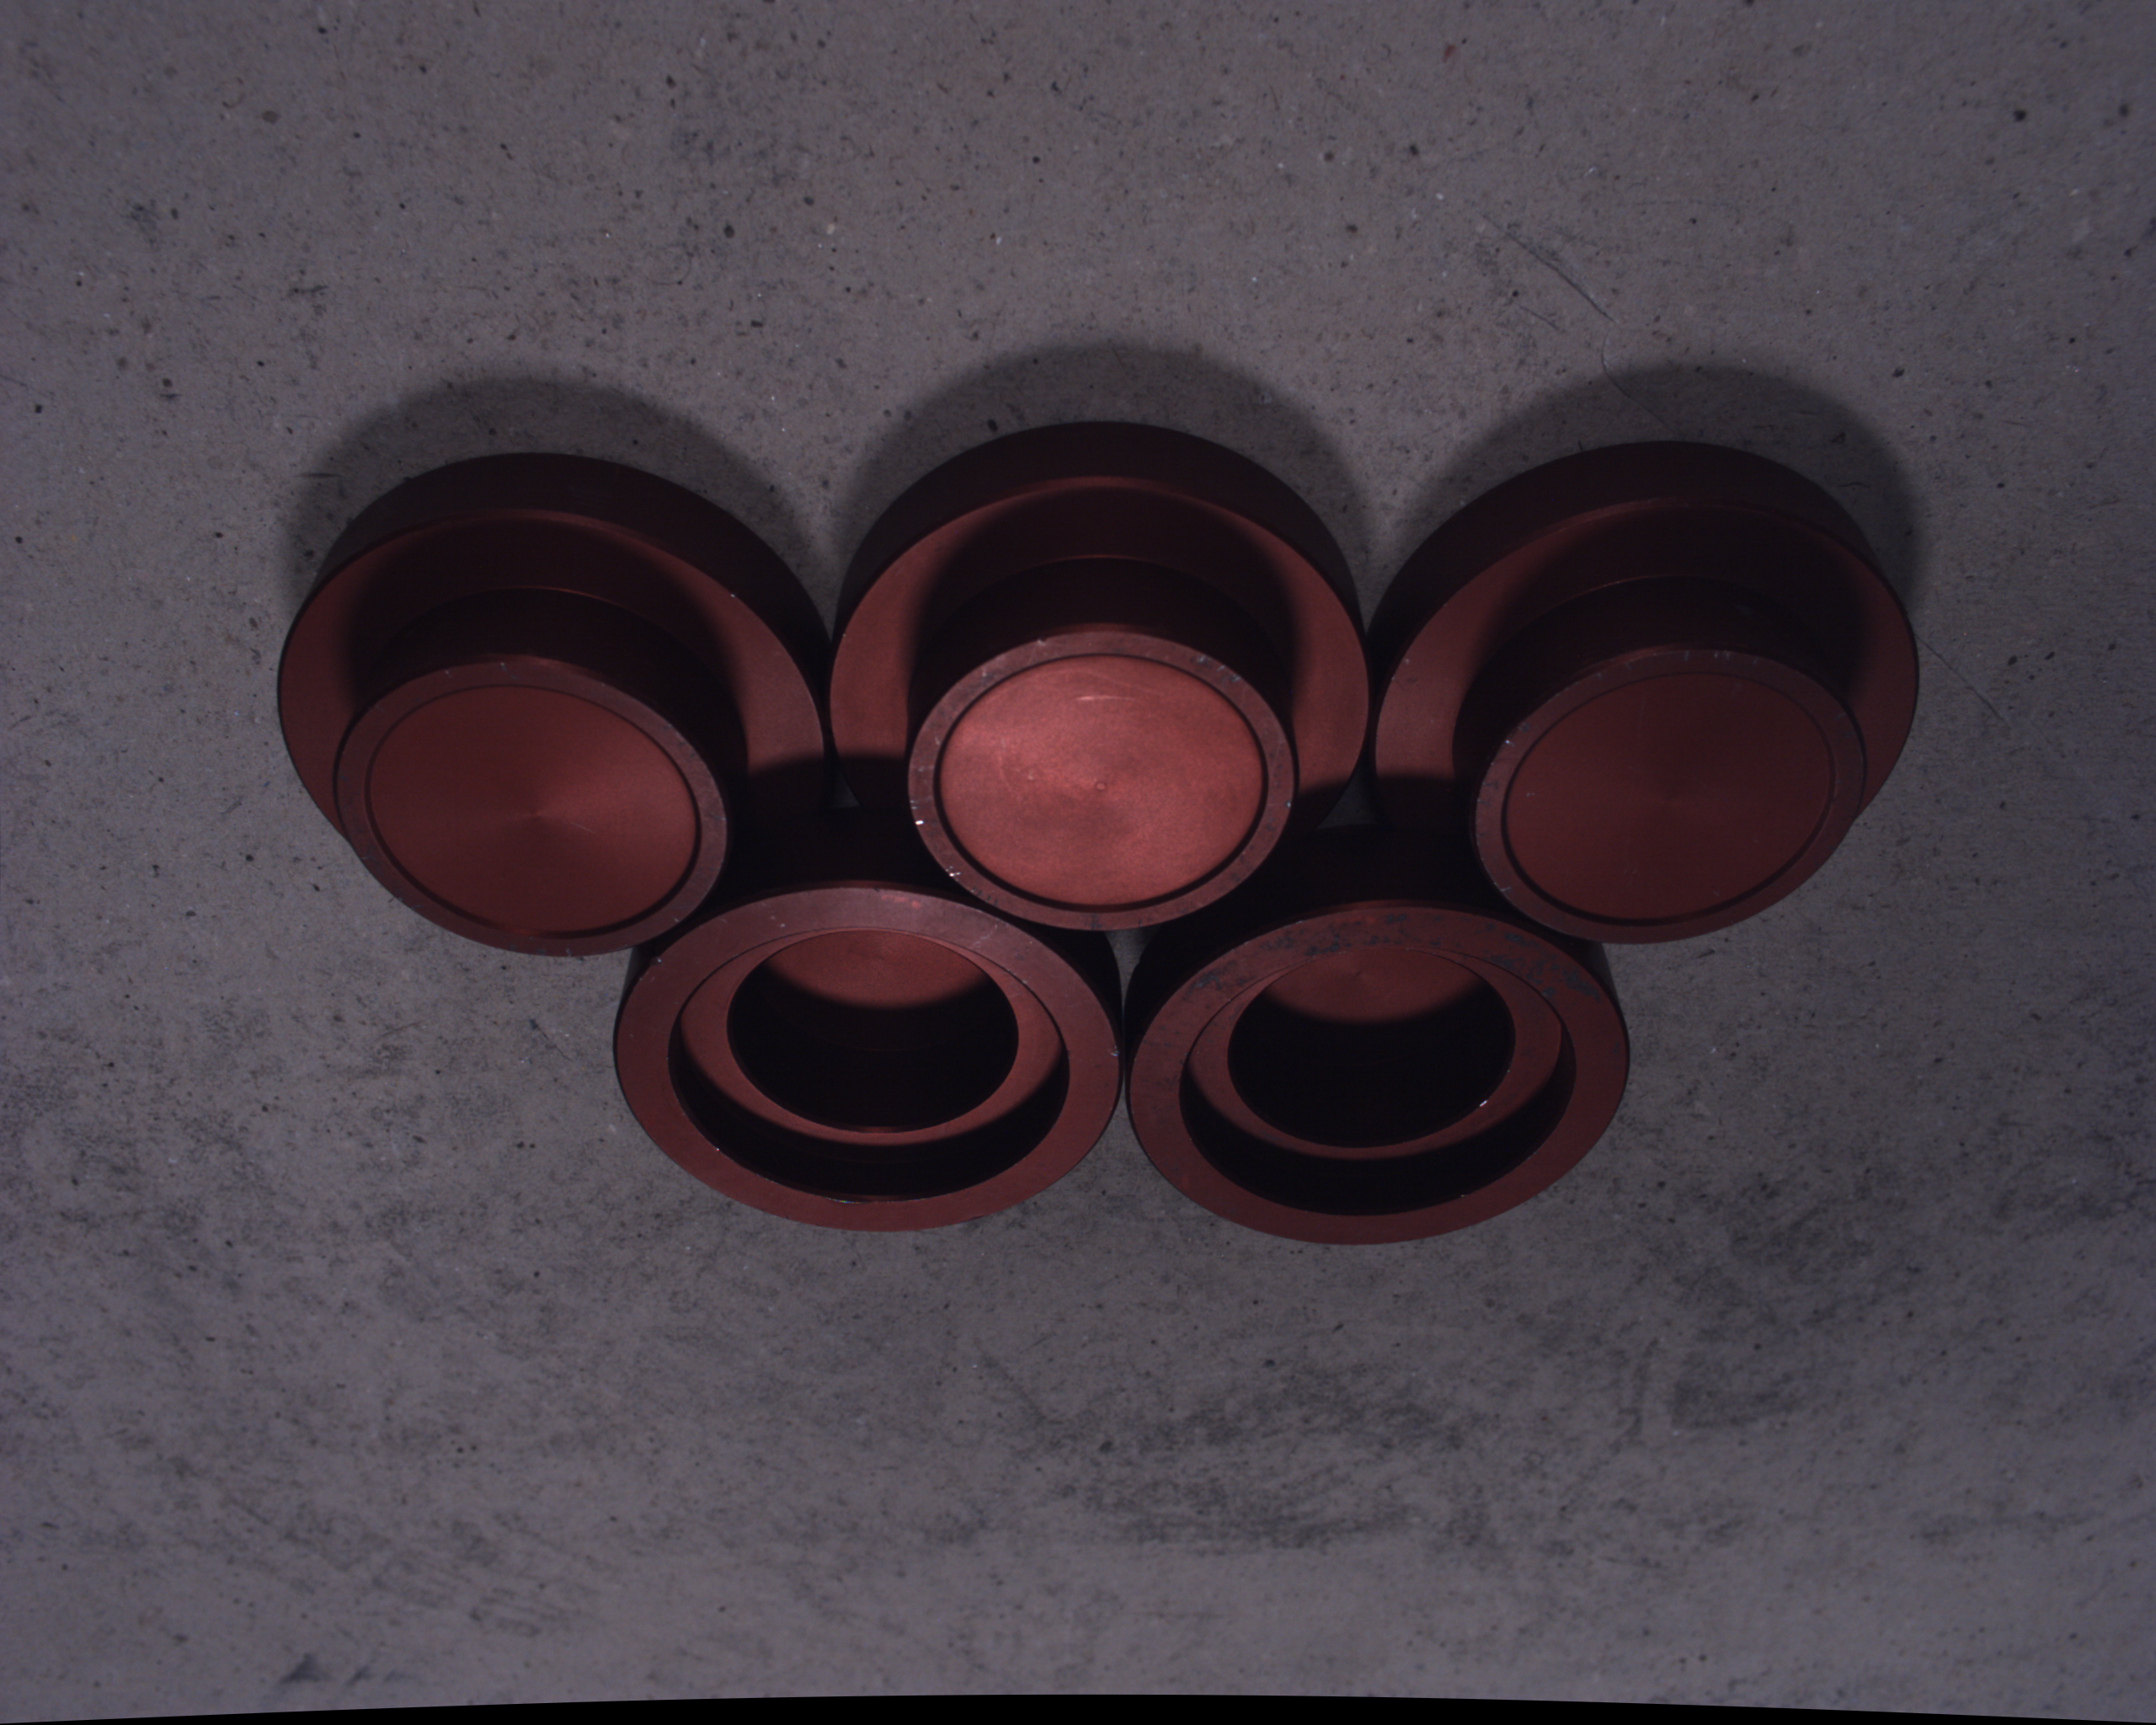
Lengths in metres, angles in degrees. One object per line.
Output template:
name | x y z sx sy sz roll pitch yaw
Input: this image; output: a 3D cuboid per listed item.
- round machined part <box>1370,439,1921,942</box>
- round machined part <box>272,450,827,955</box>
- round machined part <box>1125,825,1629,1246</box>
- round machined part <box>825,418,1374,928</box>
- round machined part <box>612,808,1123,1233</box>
round machined part | 0.103 -0.024 0.379 0.099 0.042 0.097 -1 130 0
round machined part | -0.095 -0.022 0.378 0.099 0.042 0.097 -1 130 0
round machined part | 0.058 0.031 0.425 0.099 0.042 0.097 -1 130 0
round machined part | 0.004 -0.027 0.375 0.099 0.042 0.097 -1 130 0
round machined part | -0.041 0.027 0.420 0.099 0.042 0.097 -1 130 0
